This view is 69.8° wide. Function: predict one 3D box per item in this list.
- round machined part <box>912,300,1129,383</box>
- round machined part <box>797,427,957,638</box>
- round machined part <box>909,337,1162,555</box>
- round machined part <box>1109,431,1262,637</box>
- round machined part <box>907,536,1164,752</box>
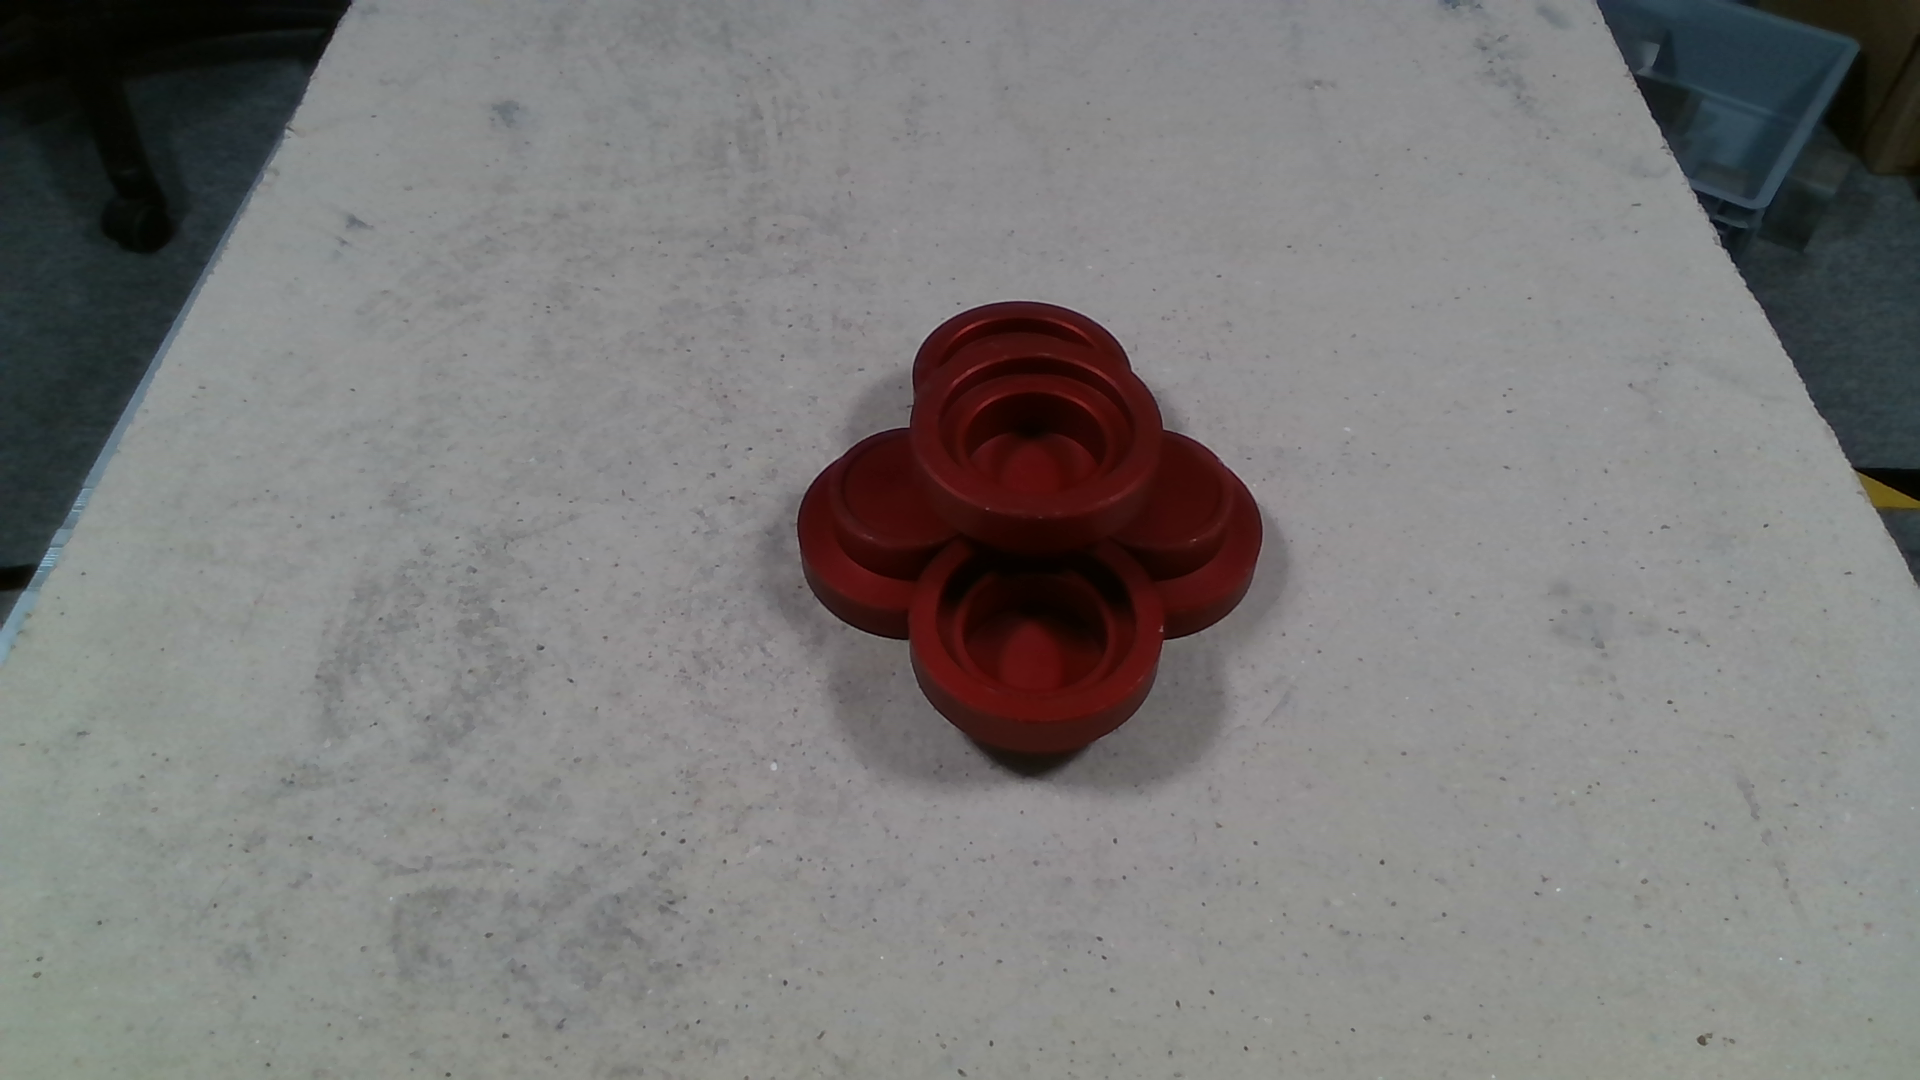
[{"bbox_3d":[0.028,-0.062,0.628,0.098,0.042,0.098,0,50,0],"label":"round machined part"},{"bbox_3d":[-0.020,-0.010,0.584,0.098,0.042,0.098,0,50,0],"label":"round machined part"},{"bbox_3d":[0.029,-0.033,0.548,0.098,0.042,0.098,0,50,0],"label":"round machined part"},{"bbox_3d":[0.079,-0.010,0.584,0.098,0.042,0.098,0,50,0],"label":"round machined part"},{"bbox_3d":[0.029,0.042,0.541,0.098,0.042,0.098,0,50,0],"label":"round machined part"}]
